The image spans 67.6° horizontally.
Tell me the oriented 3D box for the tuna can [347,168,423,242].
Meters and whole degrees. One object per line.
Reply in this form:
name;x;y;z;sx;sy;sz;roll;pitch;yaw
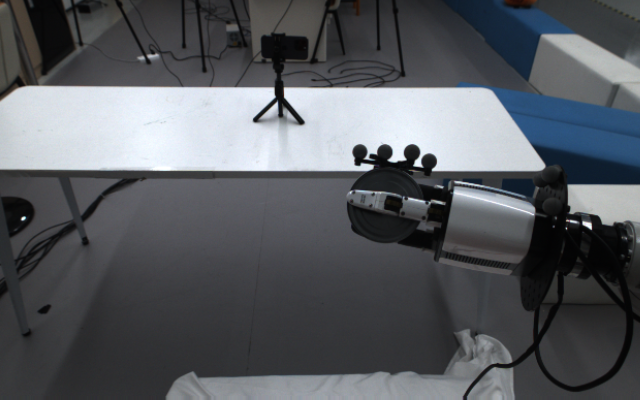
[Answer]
tuna can;0.077;0.003;0.553;0.085;0.085;0.034;10;-6;12
